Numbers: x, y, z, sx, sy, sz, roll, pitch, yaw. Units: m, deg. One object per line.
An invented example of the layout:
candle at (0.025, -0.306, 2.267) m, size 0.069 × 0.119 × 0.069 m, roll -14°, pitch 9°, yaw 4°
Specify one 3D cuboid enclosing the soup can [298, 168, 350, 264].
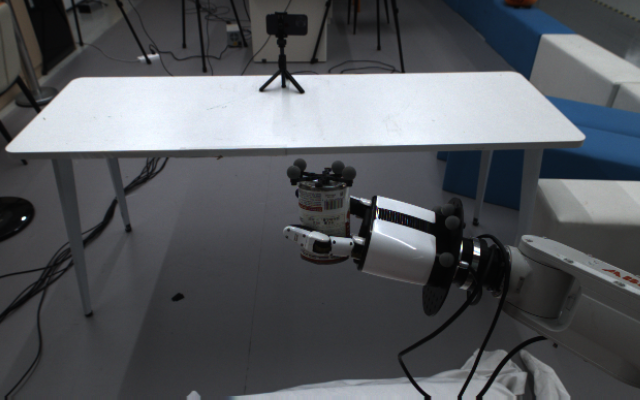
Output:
soup can at (0.008, 0.025, 0.628) m, size 0.067 × 0.101 × 0.067 m, roll -2°, pitch 17°, yaw 0°
